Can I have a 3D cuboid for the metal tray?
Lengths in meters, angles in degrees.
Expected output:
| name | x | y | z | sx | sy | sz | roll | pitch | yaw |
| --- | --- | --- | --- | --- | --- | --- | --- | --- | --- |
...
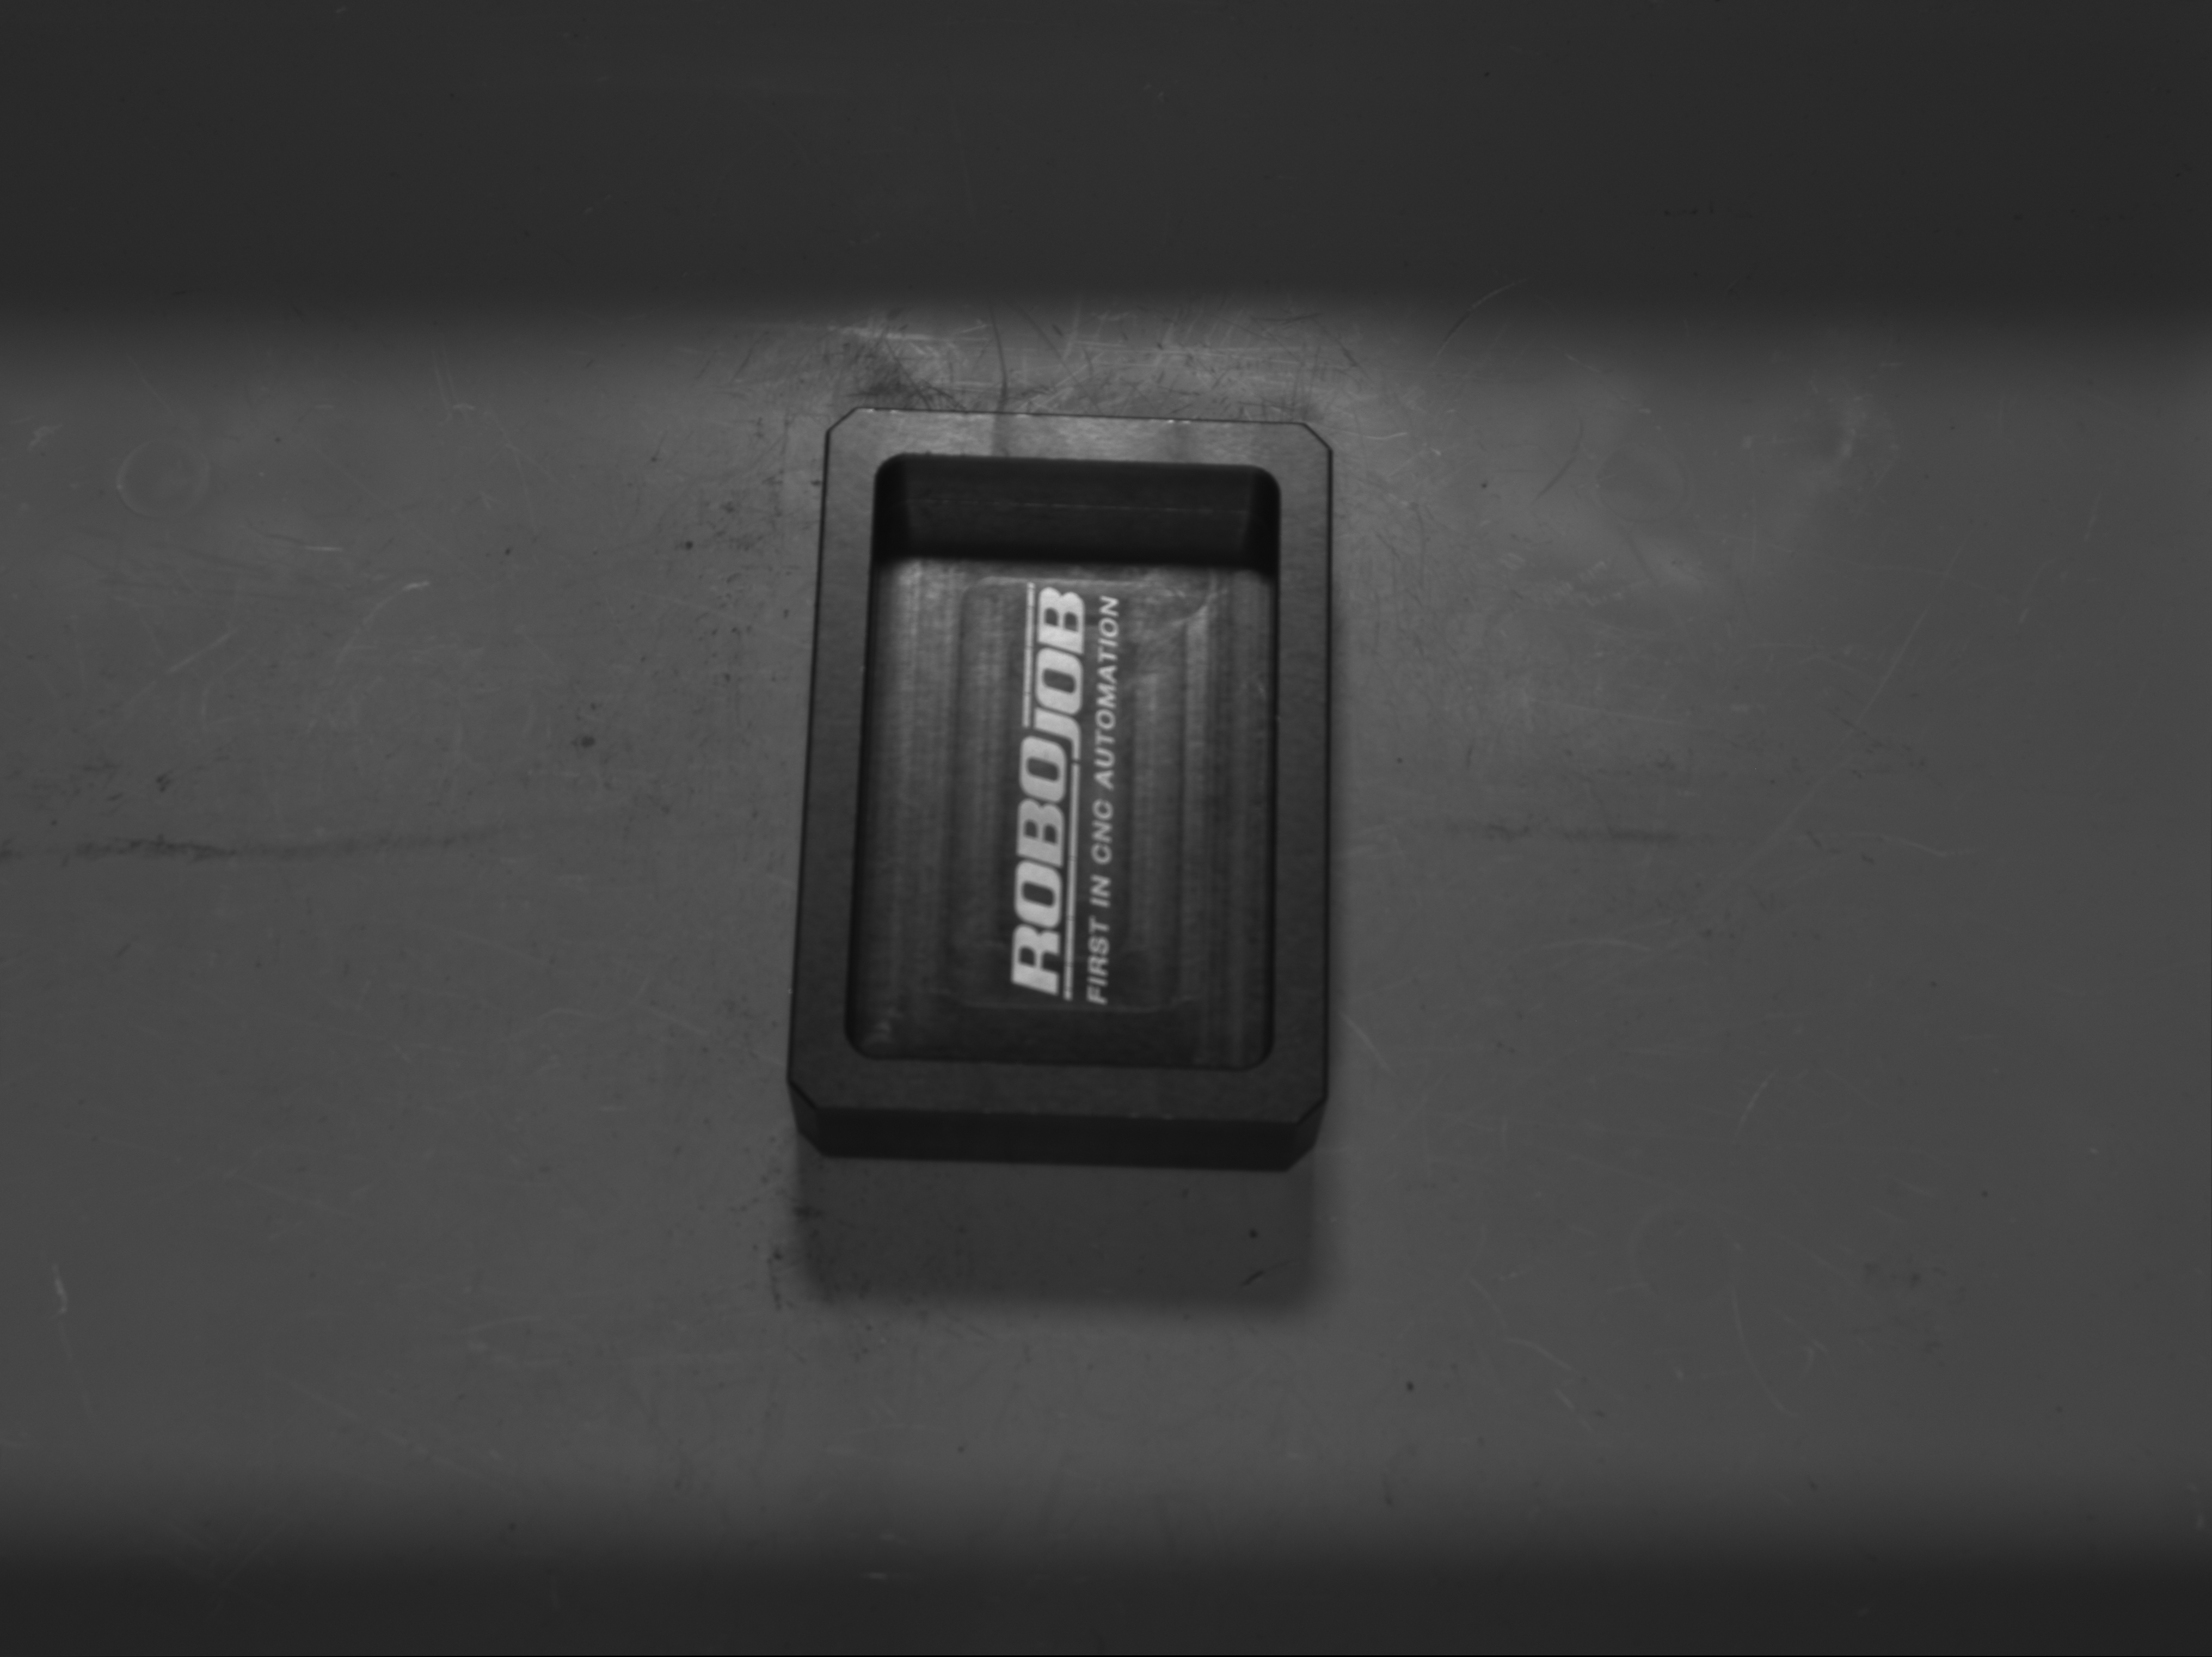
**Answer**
| name | x | y | z | sx | sy | sz | roll | pitch | yaw |
| --- | --- | --- | --- | --- | --- | --- | --- | --- | --- |
| metal tray | 0.001 | -0.008 | 0.642 | 0.090 | 0.030 | 0.130 | 2 | 70 | 0 |
